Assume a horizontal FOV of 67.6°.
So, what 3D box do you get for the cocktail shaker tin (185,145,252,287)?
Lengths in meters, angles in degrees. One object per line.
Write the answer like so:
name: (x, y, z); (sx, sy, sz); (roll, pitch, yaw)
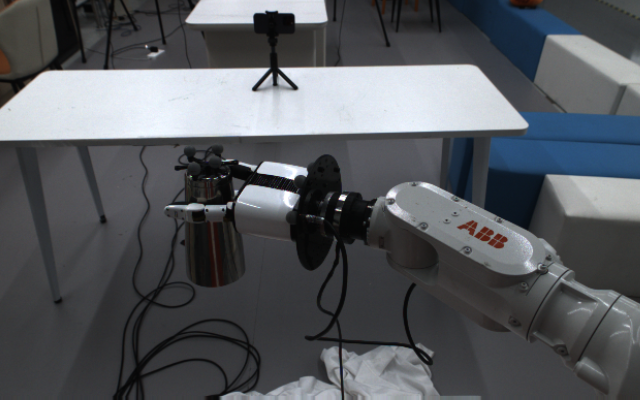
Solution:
cocktail shaker tin: (-0.160, 0.032, 0.727); (0.093, 0.170, 0.093); (1, 27, -1)
